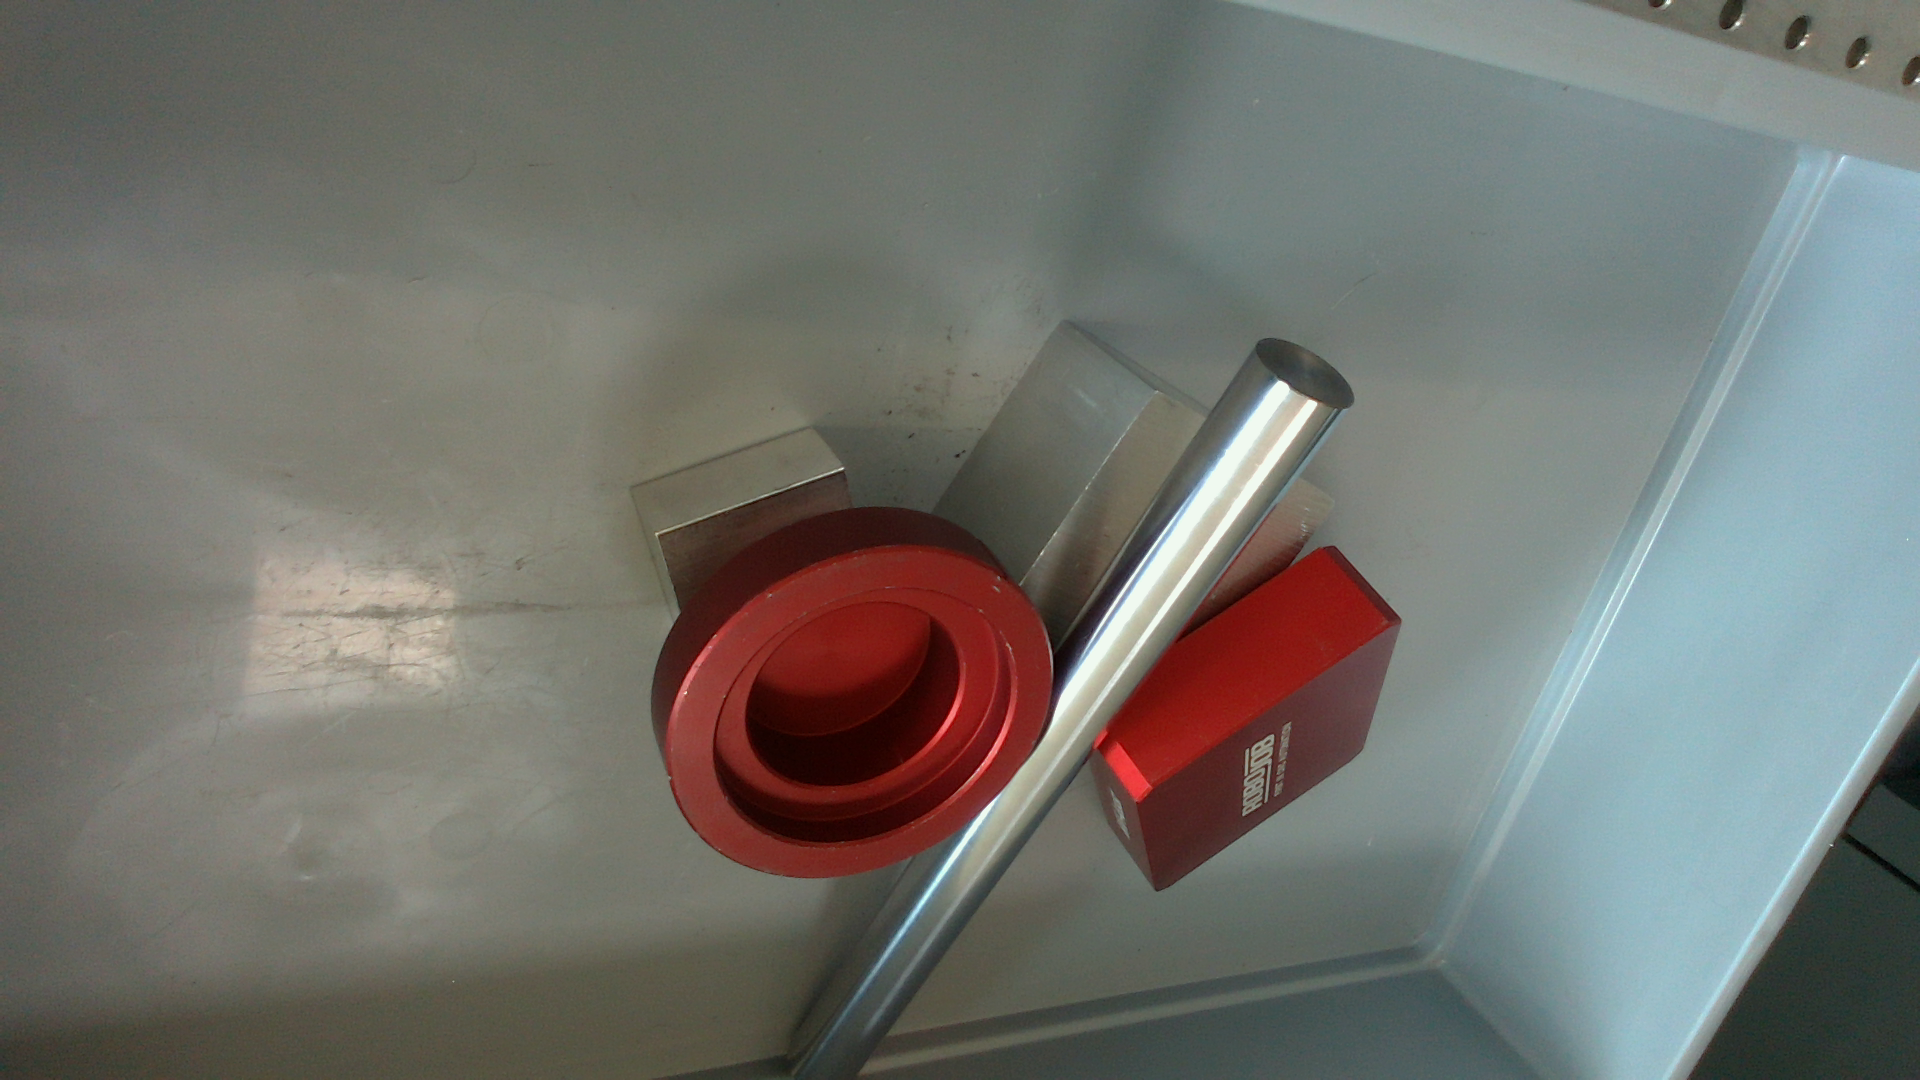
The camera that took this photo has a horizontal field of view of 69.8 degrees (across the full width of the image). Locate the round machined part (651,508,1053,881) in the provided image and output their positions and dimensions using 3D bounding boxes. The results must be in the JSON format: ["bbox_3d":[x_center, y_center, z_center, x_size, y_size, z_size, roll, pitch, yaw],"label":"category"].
[{"bbox_3d":[-0.029,0.035,0.347,0.098,0.042,0.098,-12,123,-18],"label":"round machined part"}]

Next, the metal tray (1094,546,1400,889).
[{"bbox_3d":[0.088,0.062,0.437,0.090,0.030,0.130,-33,154,-6],"label":"metal tray"}]

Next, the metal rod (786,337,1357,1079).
[{"bbox_3d":[0.014,0.070,0.387,0.025,0.025,0.299,6,131,-31],"label":"metal rod"}]

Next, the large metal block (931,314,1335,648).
[{"bbox_3d":[0.045,-0.005,0.394,0.080,0.050,0.080,25,105,-37],"label":"large metal block"}]

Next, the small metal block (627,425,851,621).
[{"bbox_3d":[-0.054,0.004,0.362,0.050,0.025,0.050,-20,126,-16],"label":"small metal block"}]
